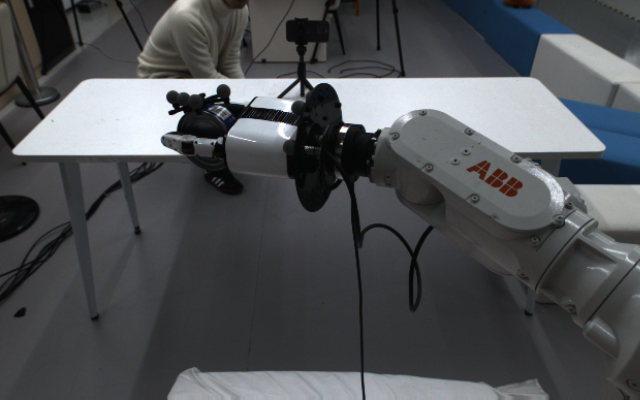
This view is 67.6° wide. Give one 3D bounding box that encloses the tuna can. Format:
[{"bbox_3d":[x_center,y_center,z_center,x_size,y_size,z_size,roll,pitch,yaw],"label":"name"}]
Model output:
[{"bbox_3d":[-0.144,-0.083,0.647,0.085,0.085,0.034,13,33,16],"label":"tuna can"}]
